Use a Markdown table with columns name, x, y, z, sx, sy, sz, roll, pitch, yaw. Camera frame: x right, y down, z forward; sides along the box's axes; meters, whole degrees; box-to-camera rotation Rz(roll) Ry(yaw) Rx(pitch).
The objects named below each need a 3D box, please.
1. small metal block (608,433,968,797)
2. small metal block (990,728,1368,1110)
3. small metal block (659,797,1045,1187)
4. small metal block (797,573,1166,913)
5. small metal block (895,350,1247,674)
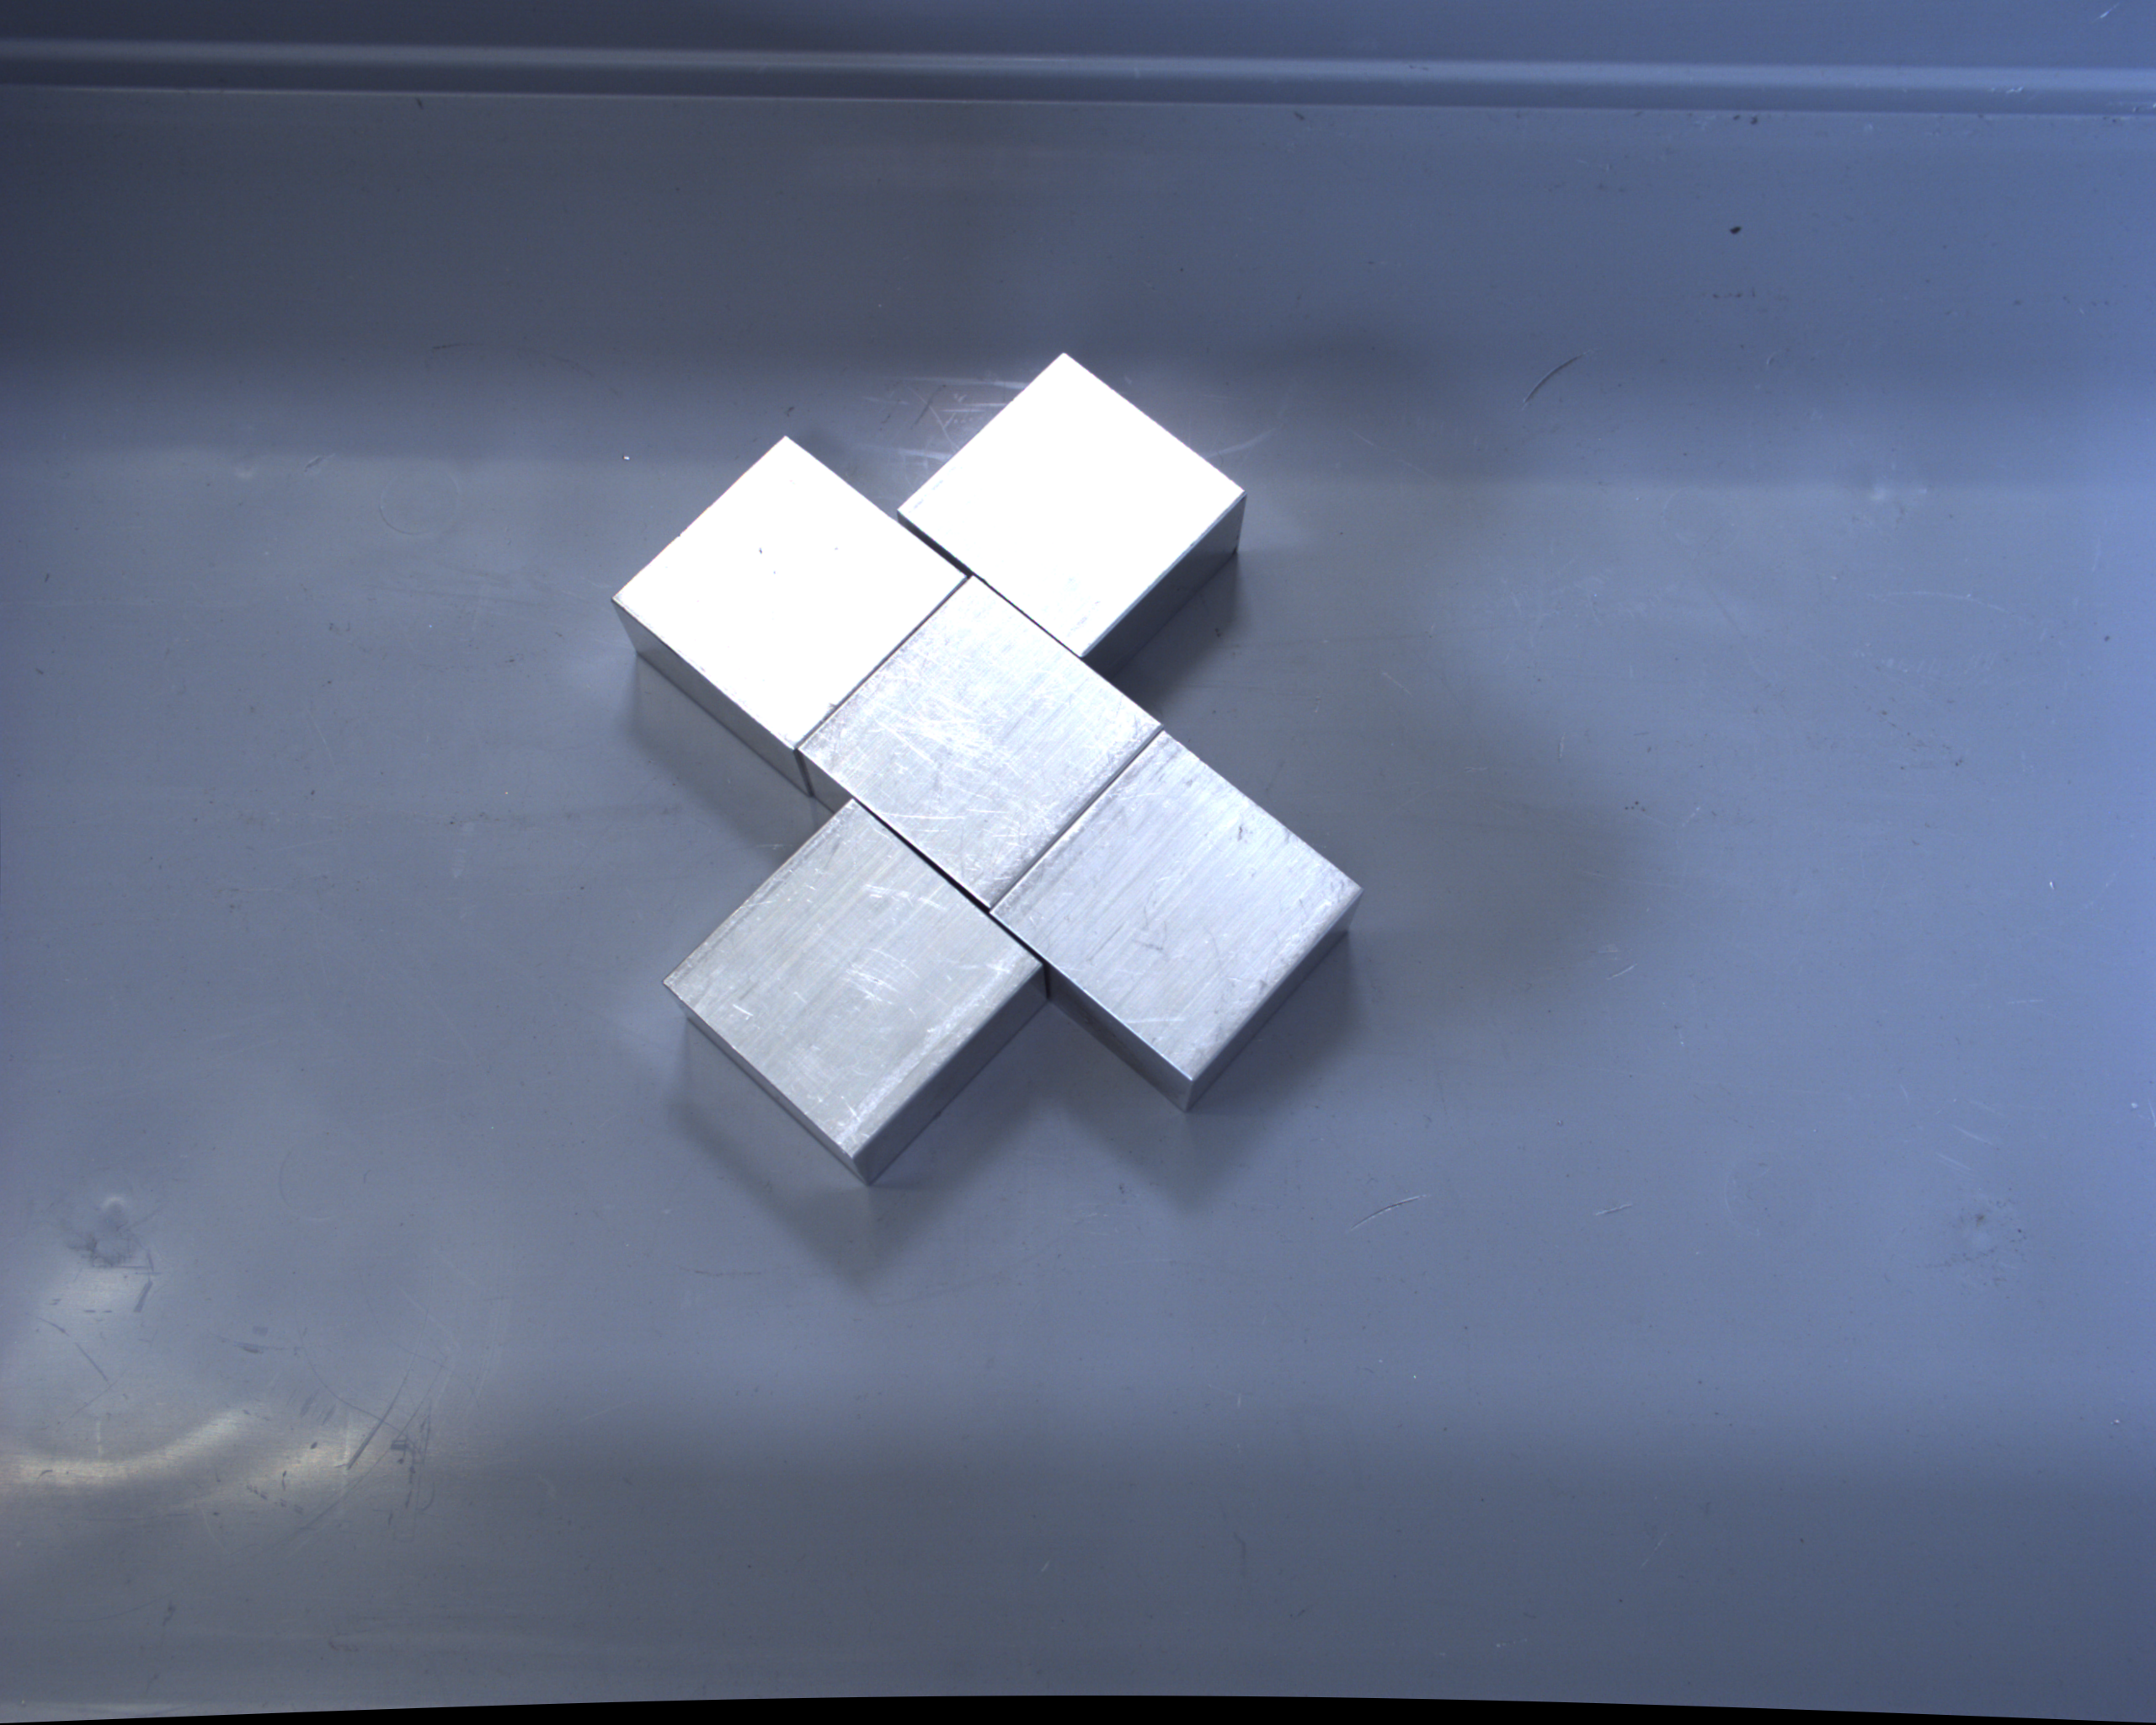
| name | x | y | z | sx | sy | sz | roll | pitch | yaw |
| --- | --- | --- | --- | --- | --- | --- | --- | --- | --- |
| small metal block | -0.057 | -0.051 | 0.425 | 0.050 | 0.025 | 0.050 | 40 | 75 | 13 |
| small metal block | 0.019 | 0.011 | 0.403 | 0.050 | 0.025 | 0.050 | 40 | 75 | 13 |
| small metal block | -0.042 | 0.025 | 0.398 | 0.050 | 0.025 | 0.050 | 41 | 76 | 13 |
| small metal block | -0.018 | -0.020 | 0.414 | 0.050 | 0.025 | 0.050 | 40 | 75 | 13 |
| small metal block | -0.001 | -0.069 | 0.432 | 0.050 | 0.025 | 0.050 | 40 | 74 | 13 |
